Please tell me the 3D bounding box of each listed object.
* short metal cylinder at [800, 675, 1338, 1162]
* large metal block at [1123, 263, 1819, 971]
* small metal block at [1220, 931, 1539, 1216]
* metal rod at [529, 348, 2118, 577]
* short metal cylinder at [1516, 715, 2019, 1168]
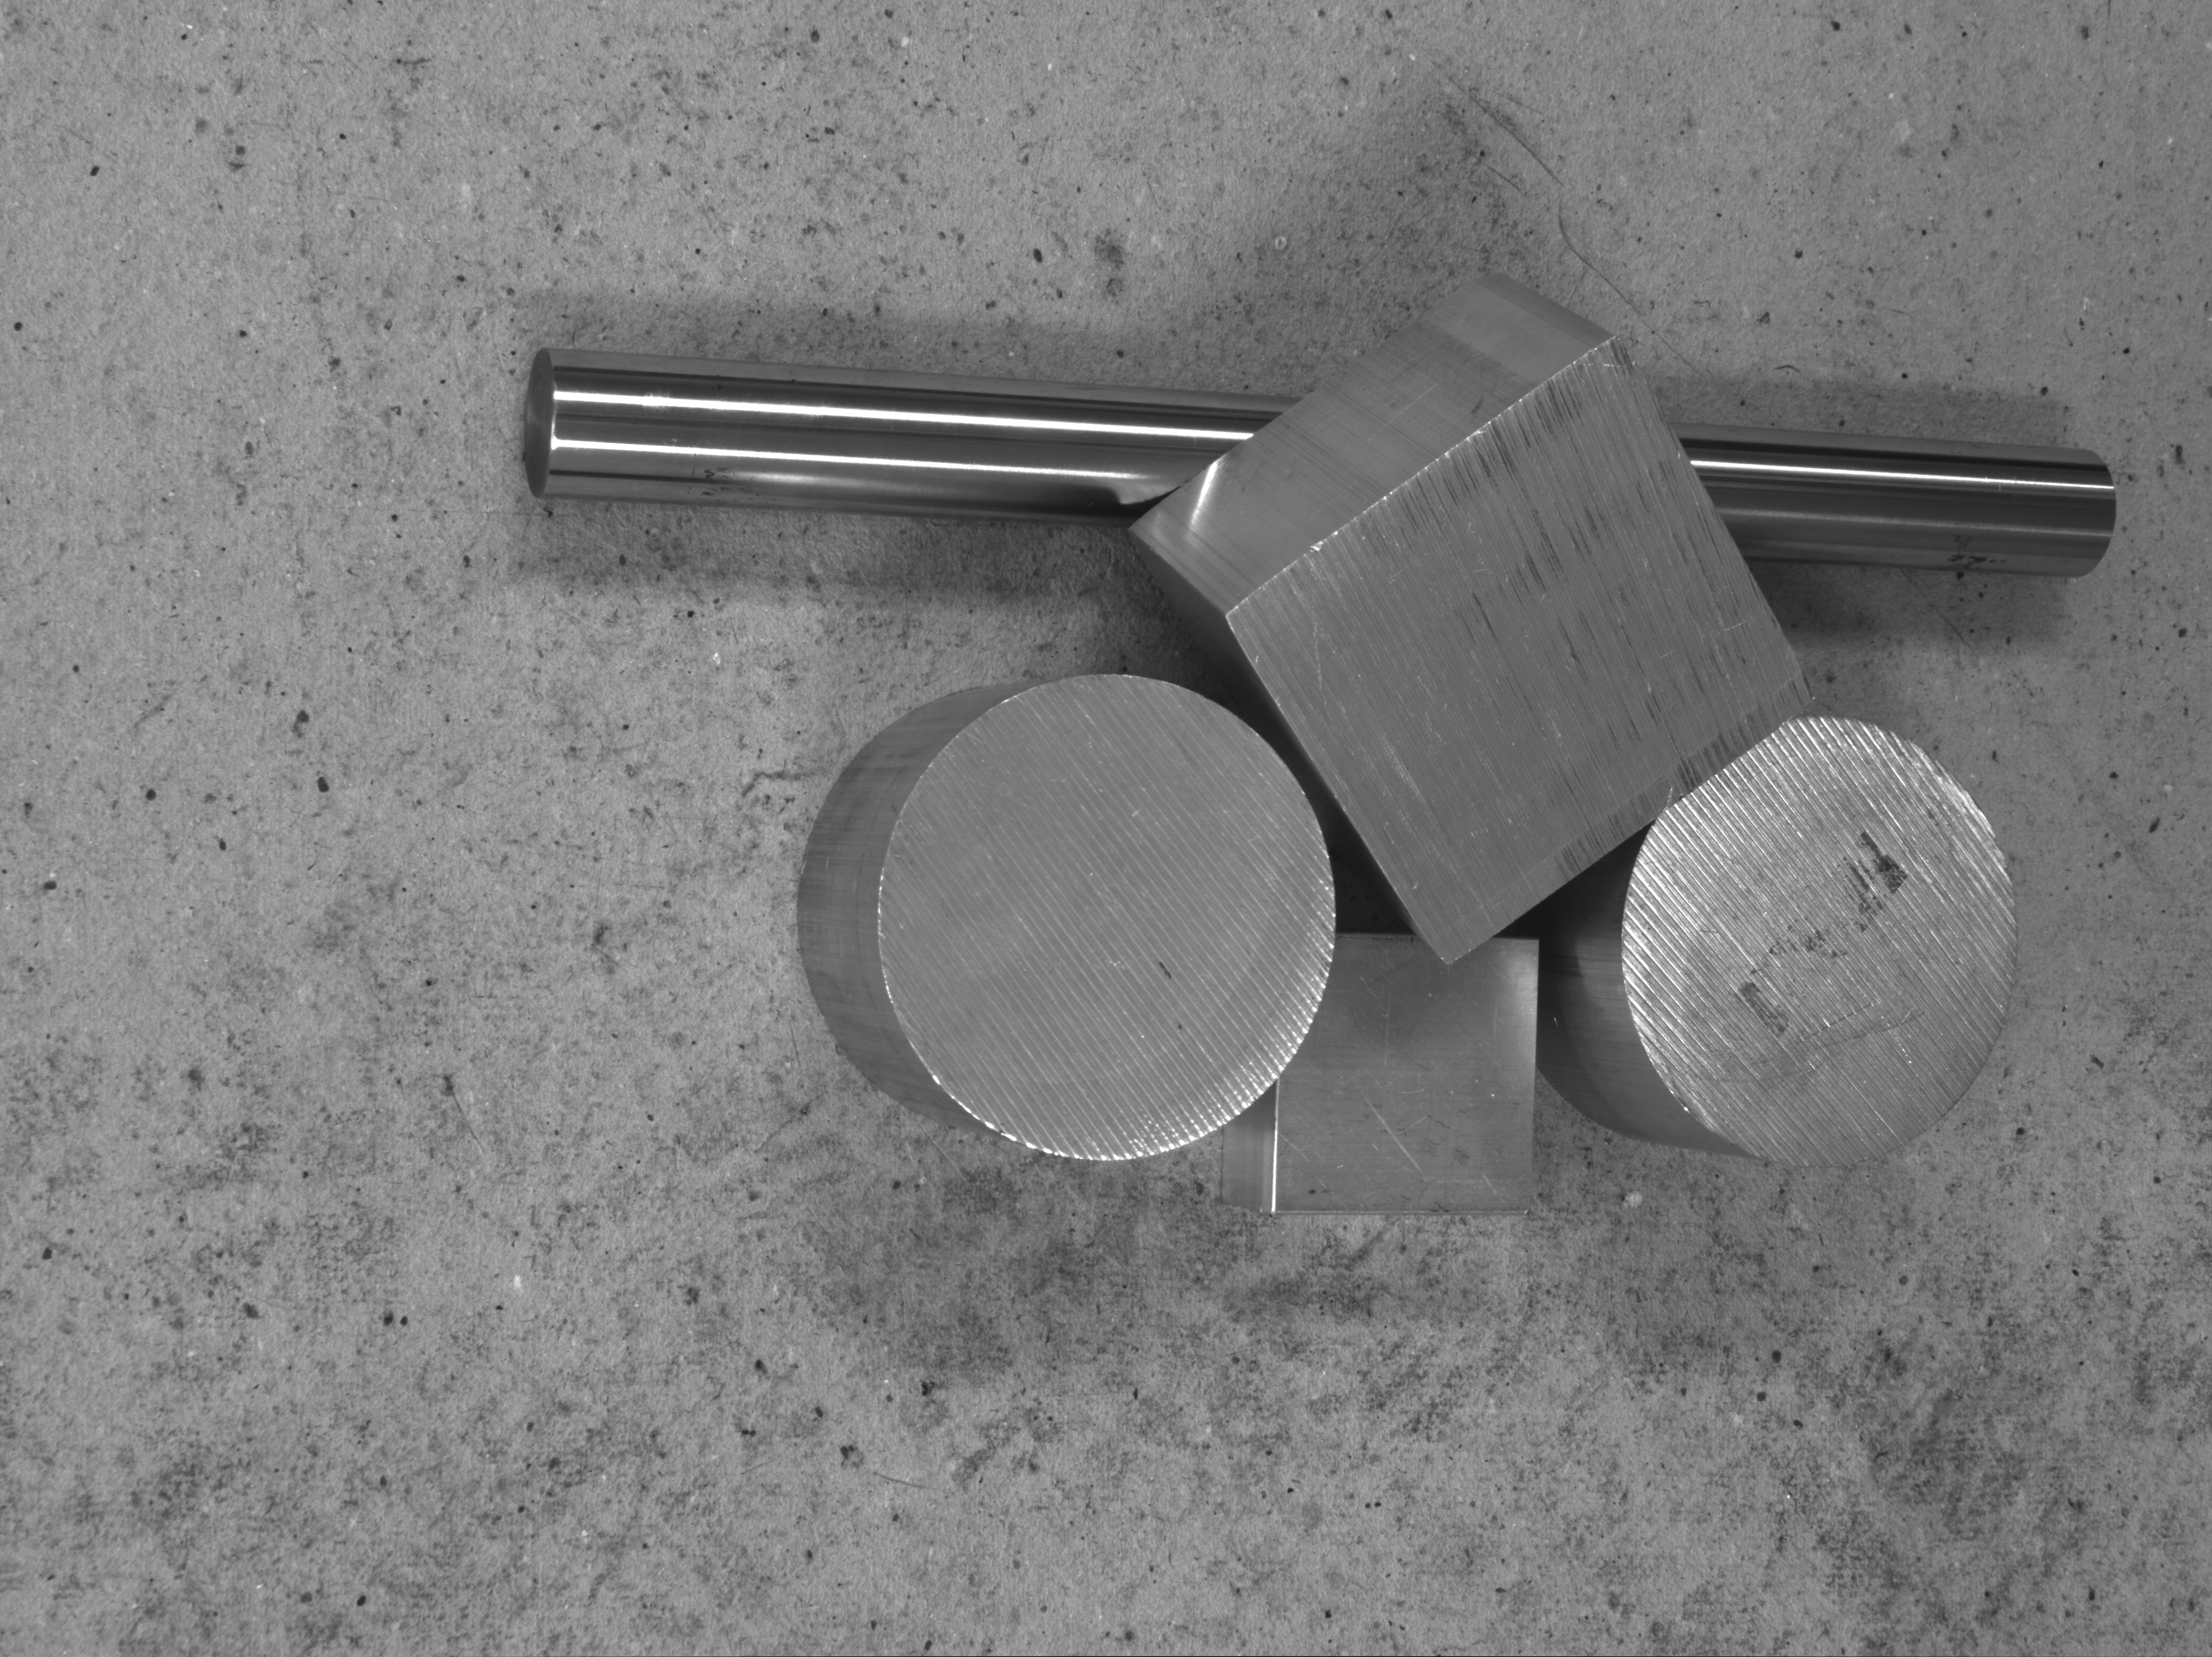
[{"bbox_3d":[-0.007,0.015,0.627,0.080,0.050,0.080,0,90,-20],"label":"short metal cylinder"},{"bbox_3d":[0.063,-0.037,0.634,0.080,0.050,0.080,-36,118,-3],"label":"large metal block"},{"bbox_3d":[0.049,0.044,0.662,0.050,0.025,0.050,2,89,-20],"label":"small metal block"},{"bbox_3d":[0.047,-0.064,0.660,0.301,0.025,0.025,1,90,-20],"label":"metal rod"},{"bbox_3d":[0.119,0.020,0.673,0.080,0.050,0.080,0,90,-20],"label":"short metal cylinder"}]
